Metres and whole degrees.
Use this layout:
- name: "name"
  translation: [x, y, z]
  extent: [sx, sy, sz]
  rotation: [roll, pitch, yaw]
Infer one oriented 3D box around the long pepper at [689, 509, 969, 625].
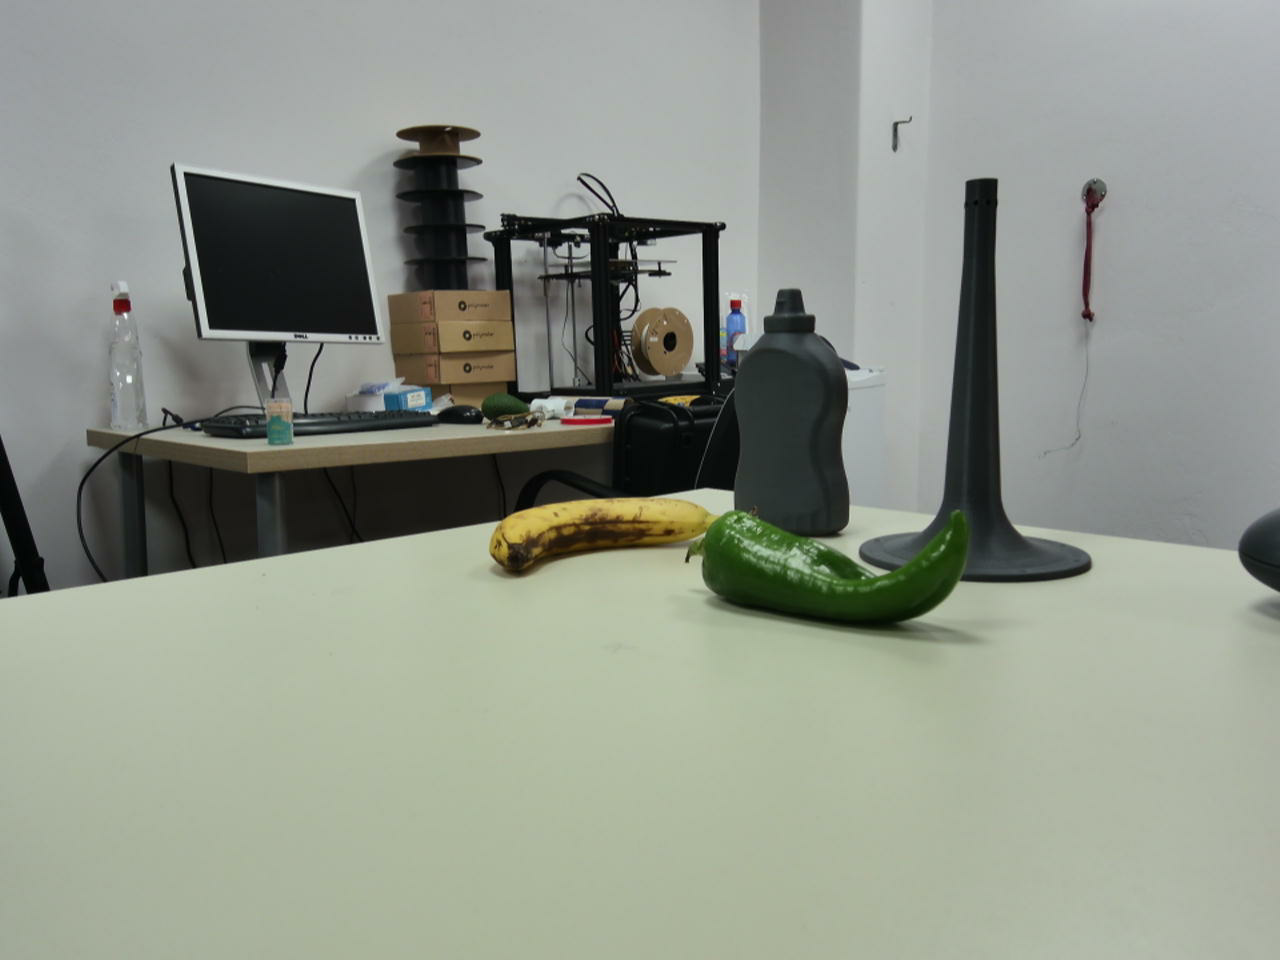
- name: "long pepper"
  translation: [0.094, 0.042, 0.555]
  extent: [0.058, 0.065, 0.175]
  rotation: [-4, 8, -44]
